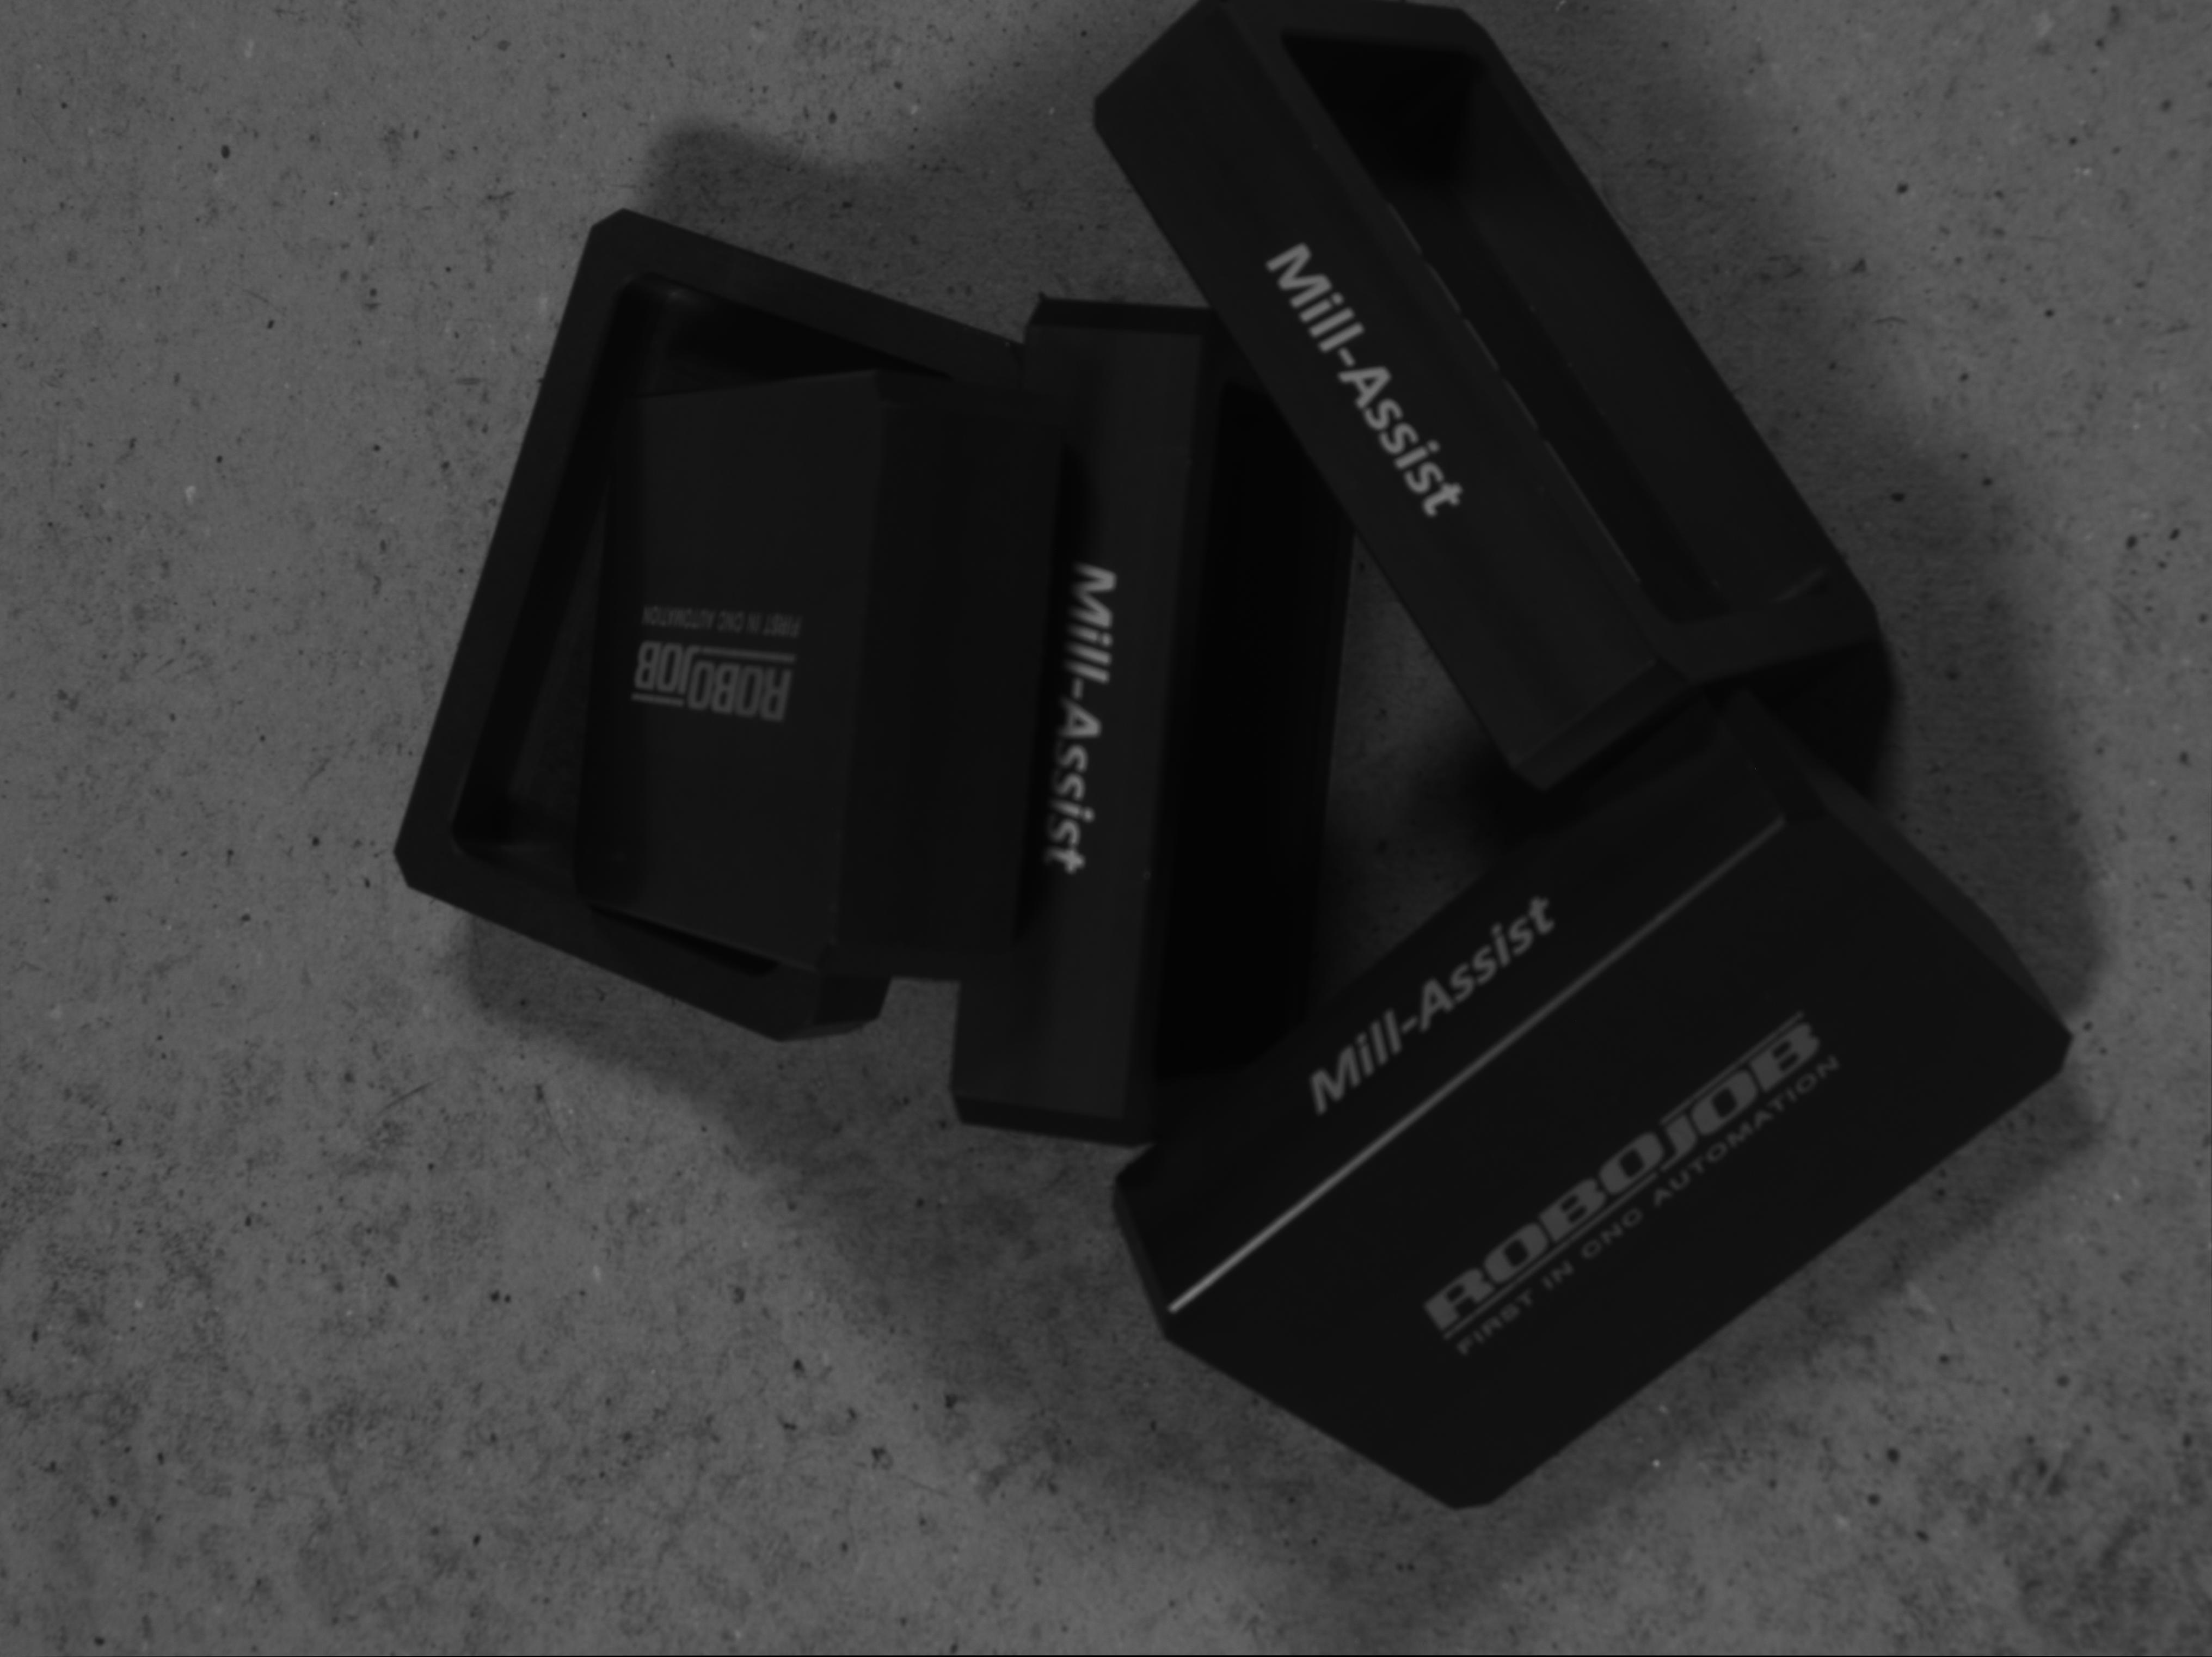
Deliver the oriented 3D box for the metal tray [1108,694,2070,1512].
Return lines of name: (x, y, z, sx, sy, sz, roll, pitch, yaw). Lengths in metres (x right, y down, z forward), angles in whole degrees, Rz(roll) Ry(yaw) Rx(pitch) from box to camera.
metal tray: (0.077, 0.047, 0.582, 0.130, 0.090, 0.030, -40, 42, 15)

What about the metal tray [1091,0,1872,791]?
metal tray: (0.062, -0.073, 0.586, 0.030, 0.090, 0.130, -38, 77, 30)

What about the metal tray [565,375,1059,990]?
metal tray: (-0.052, -0.026, 0.603, 0.130, 0.030, 0.090, 10, 95, 64)

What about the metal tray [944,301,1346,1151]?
metal tray: (0.010, -0.016, 0.607, 0.030, 0.090, 0.130, 7, 93, 20)

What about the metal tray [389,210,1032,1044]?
metal tray: (-0.068, -0.037, 0.666, 0.090, 0.030, 0.130, 21, 97, 18)
